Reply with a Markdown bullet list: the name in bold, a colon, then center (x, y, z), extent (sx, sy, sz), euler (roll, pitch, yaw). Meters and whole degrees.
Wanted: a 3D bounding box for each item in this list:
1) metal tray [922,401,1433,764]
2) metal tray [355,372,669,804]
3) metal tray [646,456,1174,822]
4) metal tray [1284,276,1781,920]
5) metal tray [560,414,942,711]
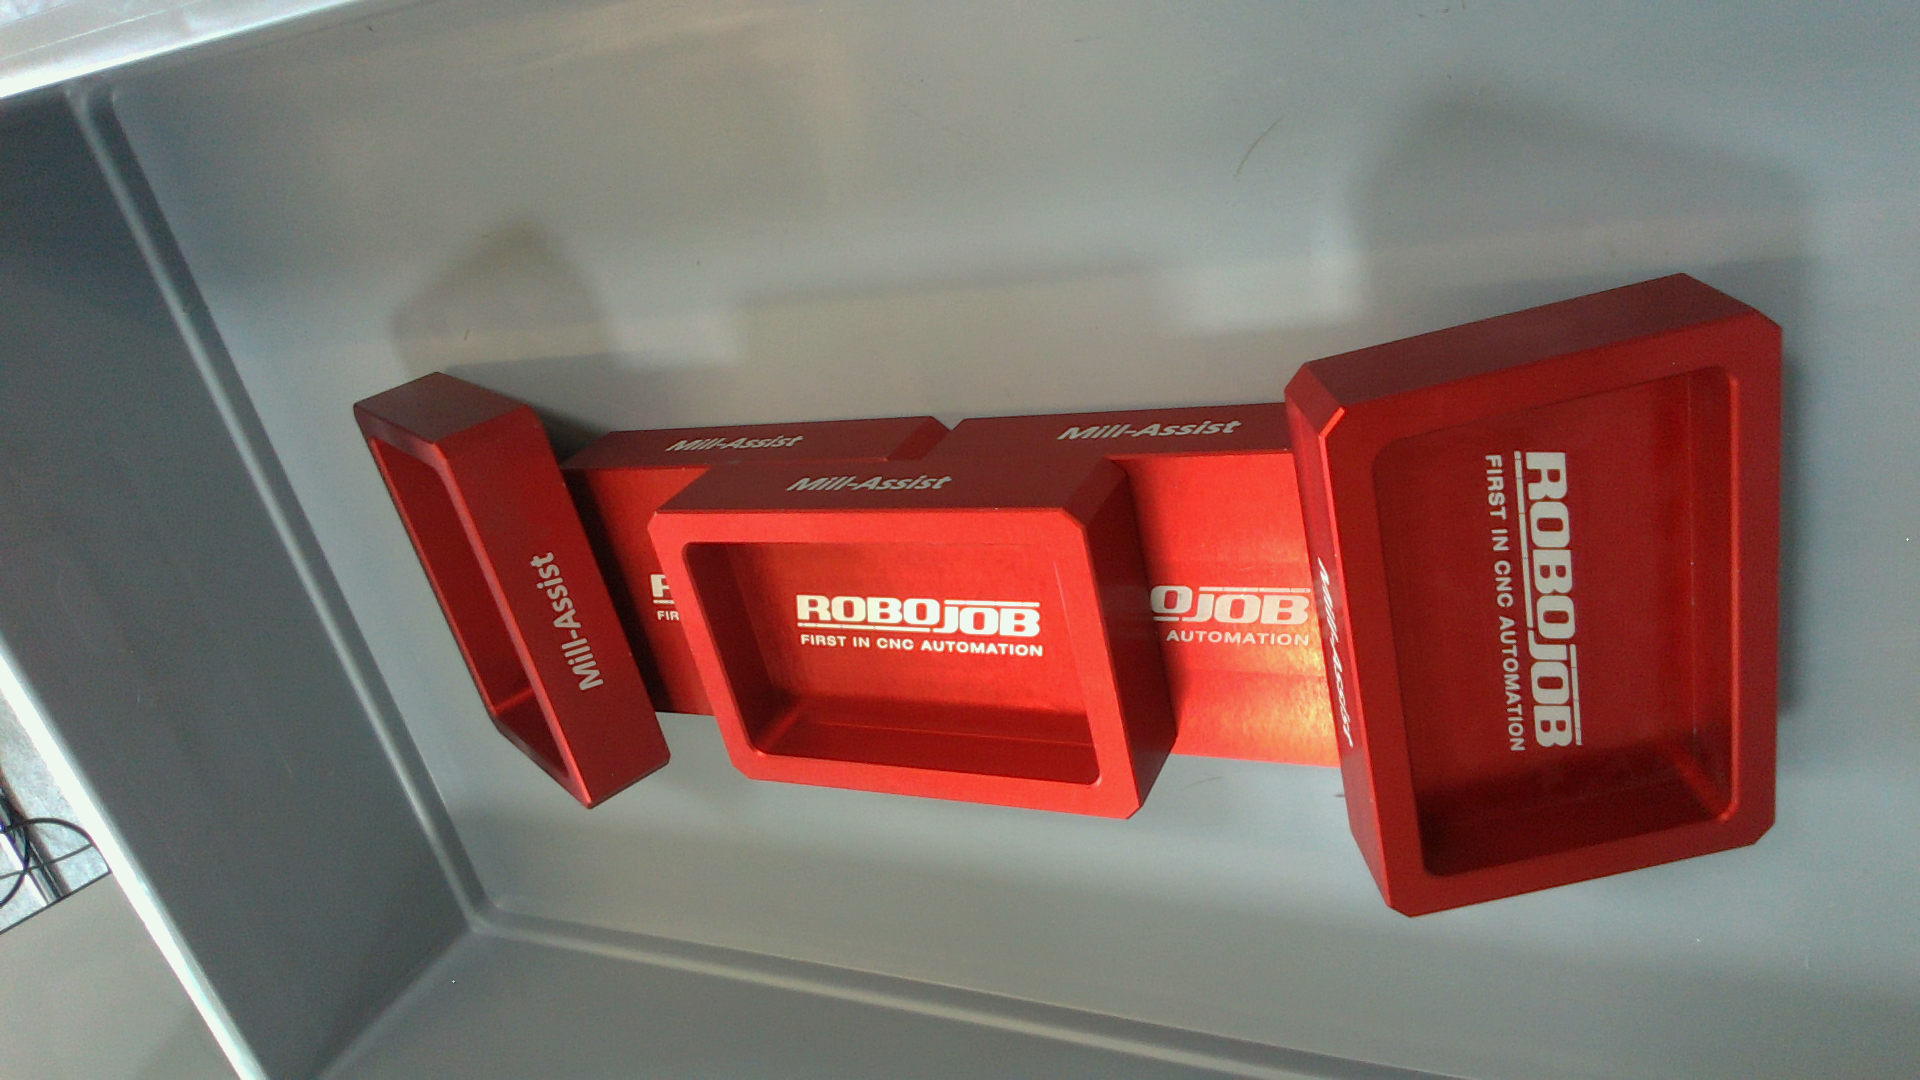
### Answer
- **metal tray**: center (0.057, 0.011, 0.365), extent (0.130, 0.030, 0.090), euler (0, 119, 28)
- **metal tray**: center (-0.147, 0.015, 0.453), extent (0.090, 0.030, 0.130), euler (19, 131, 49)
- **metal tray**: center (-0.014, 0.025, 0.372), extent (0.130, 0.030, 0.090), euler (1, 118, 28)
- **metal tray**: center (0.128, 0.017, 0.305), extent (0.090, 0.030, 0.130), euler (-13, 115, 3)
- **metal tray**: center (-0.057, 0.010, 0.426), extent (0.130, 0.030, 0.090), euler (0, 119, 28)
